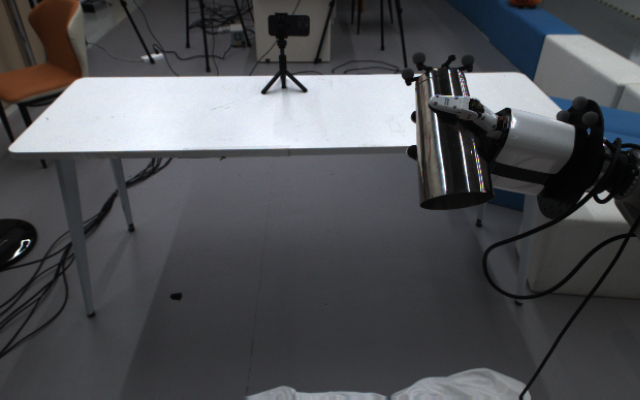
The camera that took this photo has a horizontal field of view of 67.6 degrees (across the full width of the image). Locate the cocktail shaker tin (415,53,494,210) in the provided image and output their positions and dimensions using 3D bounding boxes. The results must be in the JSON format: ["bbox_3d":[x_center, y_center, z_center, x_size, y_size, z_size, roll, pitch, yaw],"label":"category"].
[{"bbox_3d":[0.167,-0.081,0.630,0.093,0.093,0.170,-3,76,-8],"label":"cocktail shaker tin"}]
